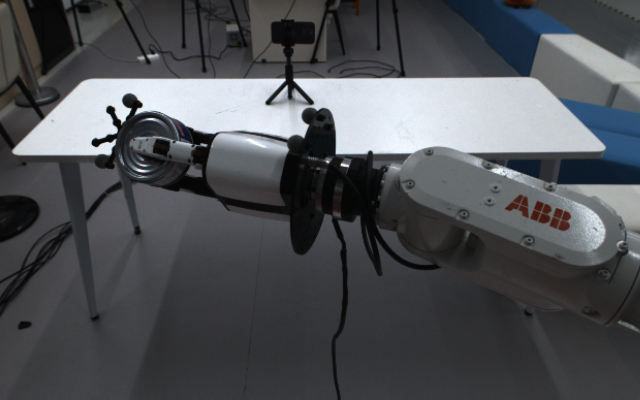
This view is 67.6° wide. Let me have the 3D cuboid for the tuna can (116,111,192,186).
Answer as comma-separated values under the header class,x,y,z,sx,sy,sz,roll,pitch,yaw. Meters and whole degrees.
class,x,y,z,sx,sy,sz,roll,pitch,yaw
tuna can,-0.192,-0.060,0.565,0.085,0.085,0.034,12,-3,14
